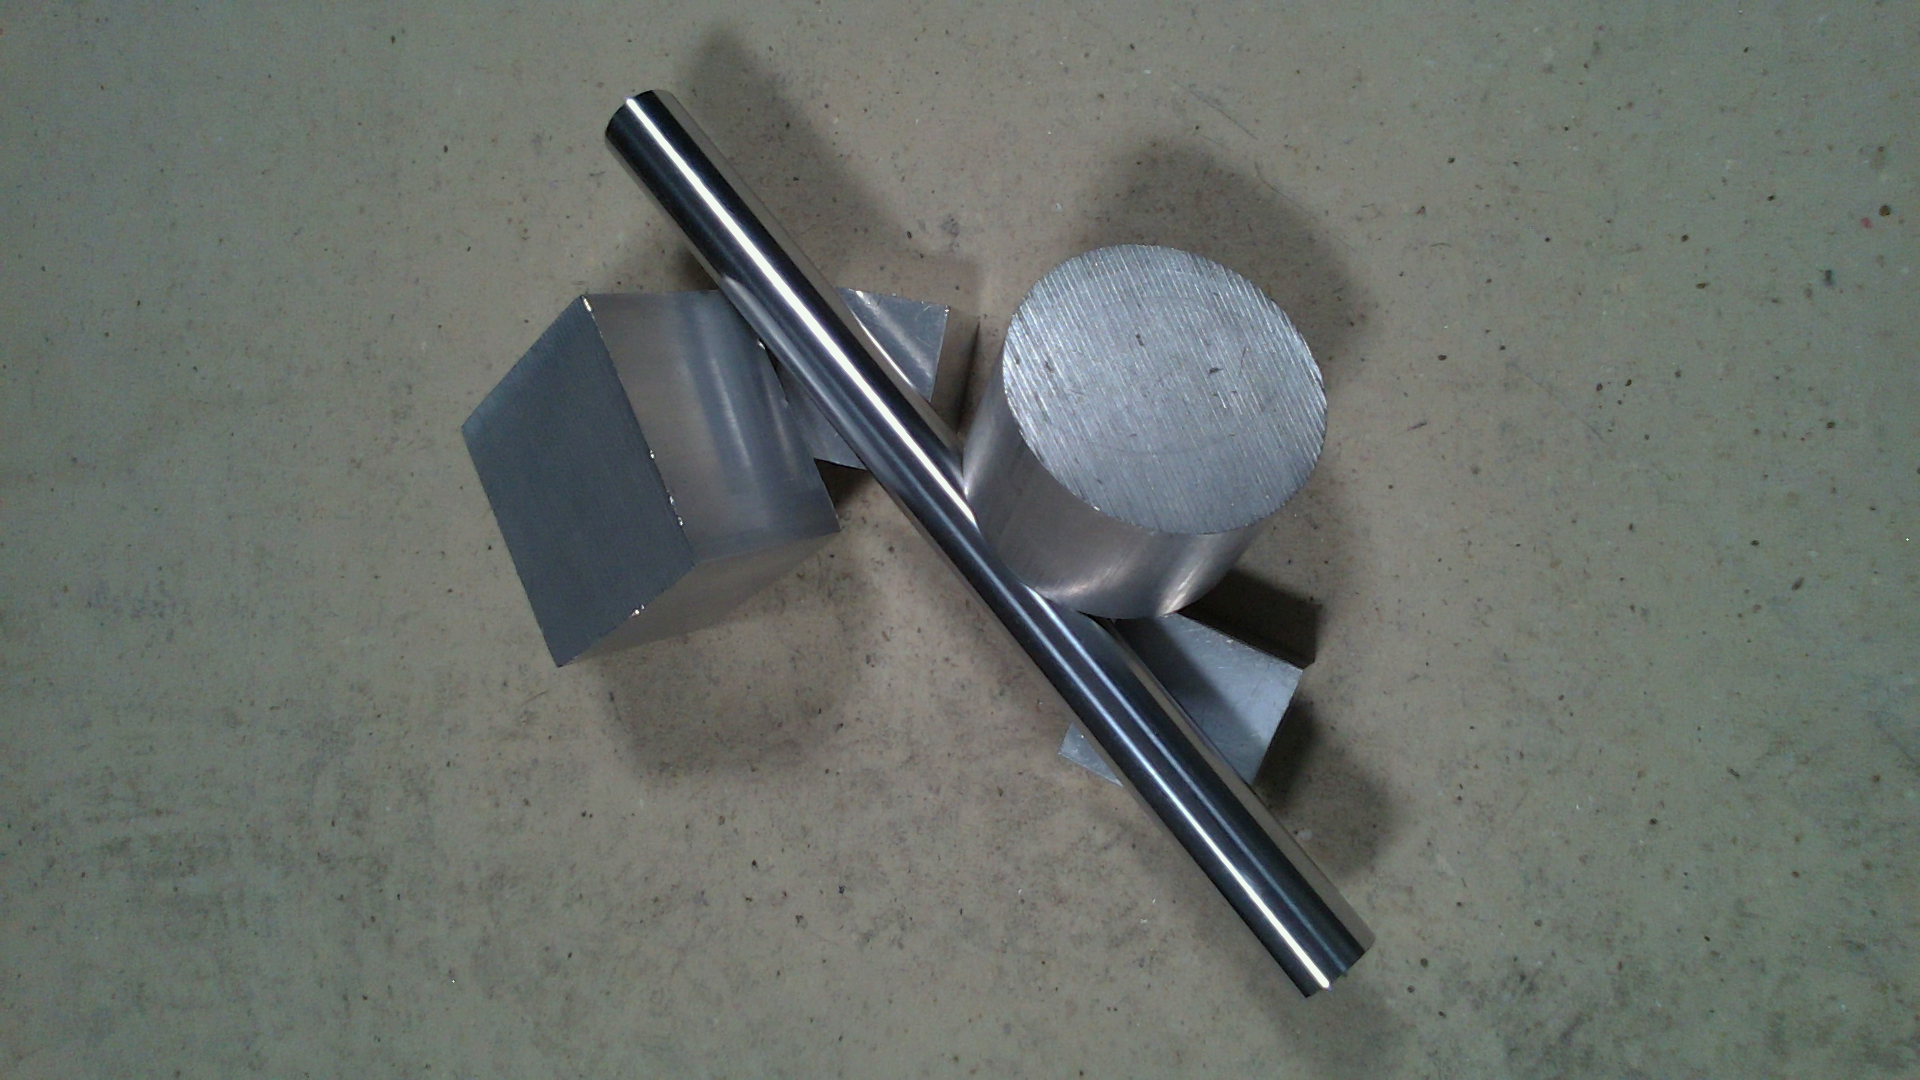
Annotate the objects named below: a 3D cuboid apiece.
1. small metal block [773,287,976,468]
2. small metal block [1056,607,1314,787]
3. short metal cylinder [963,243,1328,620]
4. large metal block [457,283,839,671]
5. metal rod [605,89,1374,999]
[{"bbox_3d":[-0.027,-0.047,0.406,0.050,0.025,0.050,13,94,19],"label":"small metal block"},{"bbox_3d":[0.062,0.046,0.374,0.050,0.025,0.050,26,99,18],"label":"small metal block"},{"bbox_3d":[0.044,-0.026,0.345,0.080,0.050,0.080,5,64,-10],"label":"short metal cylinder"},{"bbox_3d":[-0.092,-0.018,0.399,0.080,0.050,0.080,-31,80,41],"label":"large metal block"},{"bbox_3d":[-0.001,-0.009,0.370,0.025,0.025,0.300,-43,77,15],"label":"metal rod"}]
